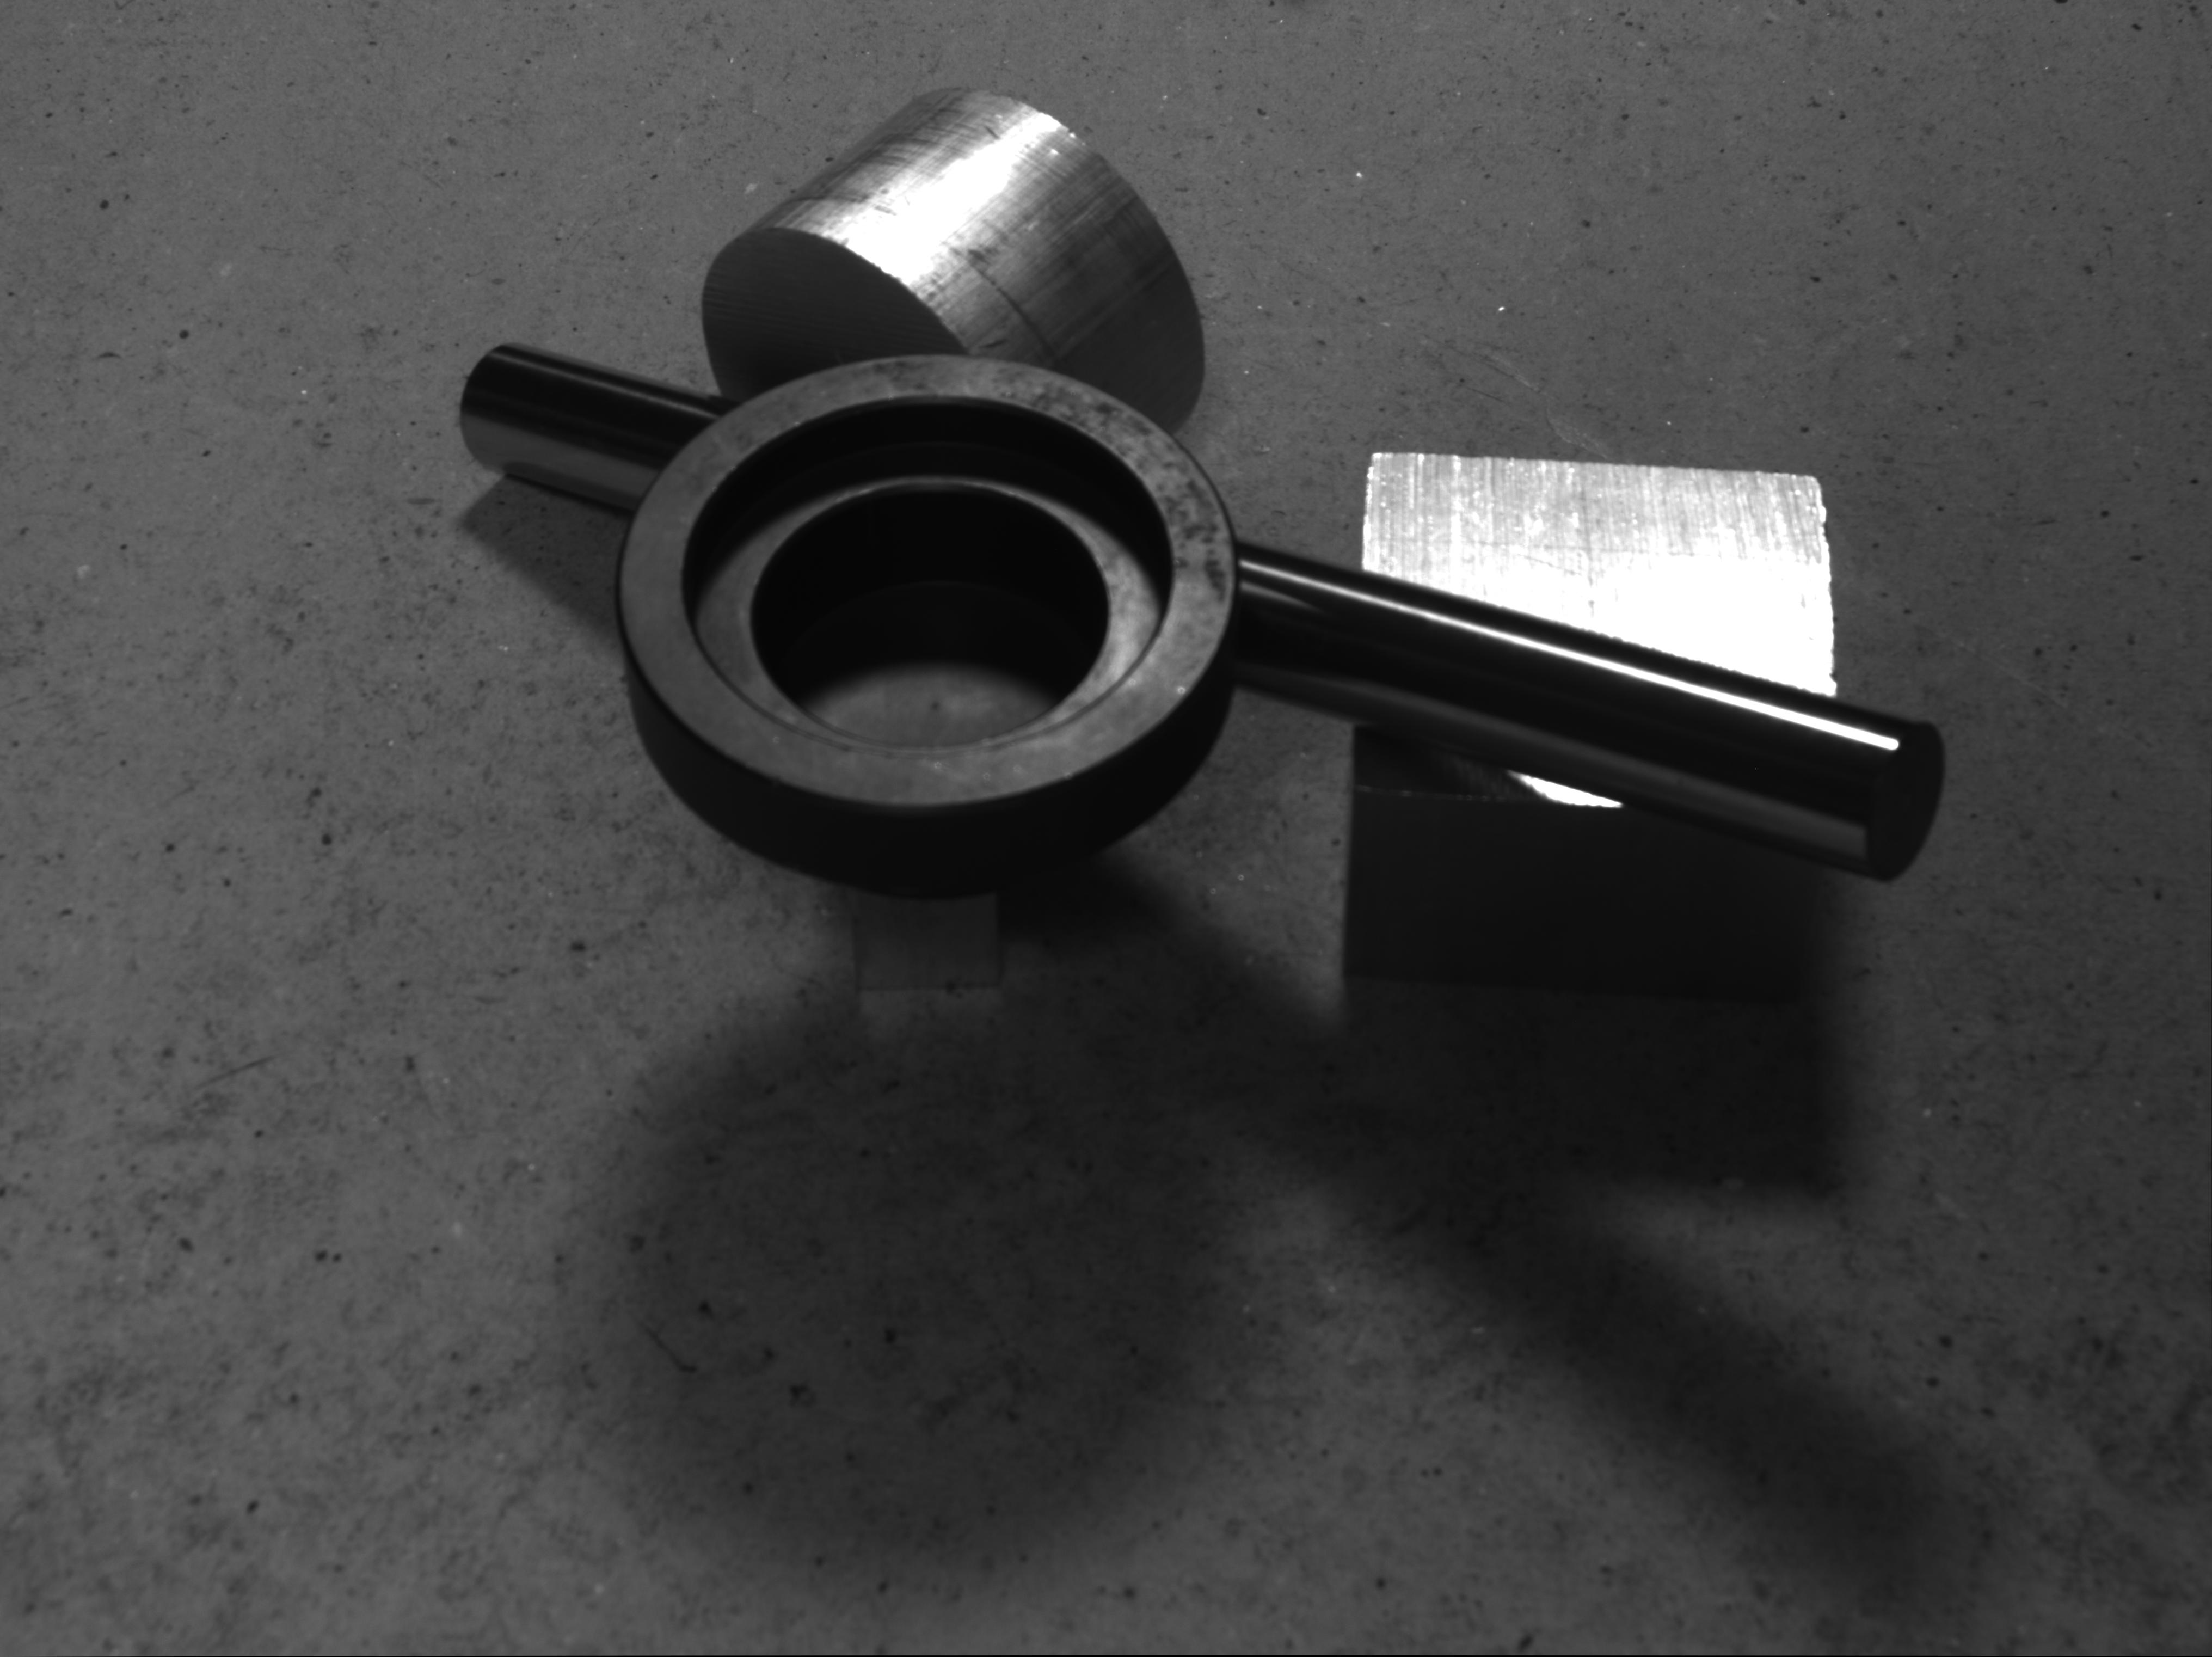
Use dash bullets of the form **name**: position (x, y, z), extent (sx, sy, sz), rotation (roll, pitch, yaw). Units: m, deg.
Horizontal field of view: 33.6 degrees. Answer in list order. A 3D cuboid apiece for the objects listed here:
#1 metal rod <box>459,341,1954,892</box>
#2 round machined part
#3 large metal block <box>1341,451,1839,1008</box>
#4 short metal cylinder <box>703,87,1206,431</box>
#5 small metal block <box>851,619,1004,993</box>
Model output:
- **metal rod**: position (0.002, -0.042, 0.629), extent (0.299, 0.025, 0.025), rotation (19, 51, 33)
- **round machined part**: position (-0.028, -0.028, 0.590), extent (0.098, 0.042, 0.098), rotation (0, 51, 0)
- **large metal block**: position (0.084, -0.018, 0.641), extent (0.080, 0.050, 0.080), rotation (3, 50, 3)
- **short metal cylinder**: position (-0.028, -0.090, 0.682), extent (0.080, 0.080, 0.050), rotation (30, 56, 23)
- **small metal block**: position (-0.031, -0.007, 0.633), extent (0.025, 0.050, 0.050), rotation (-1, 50, -1)
